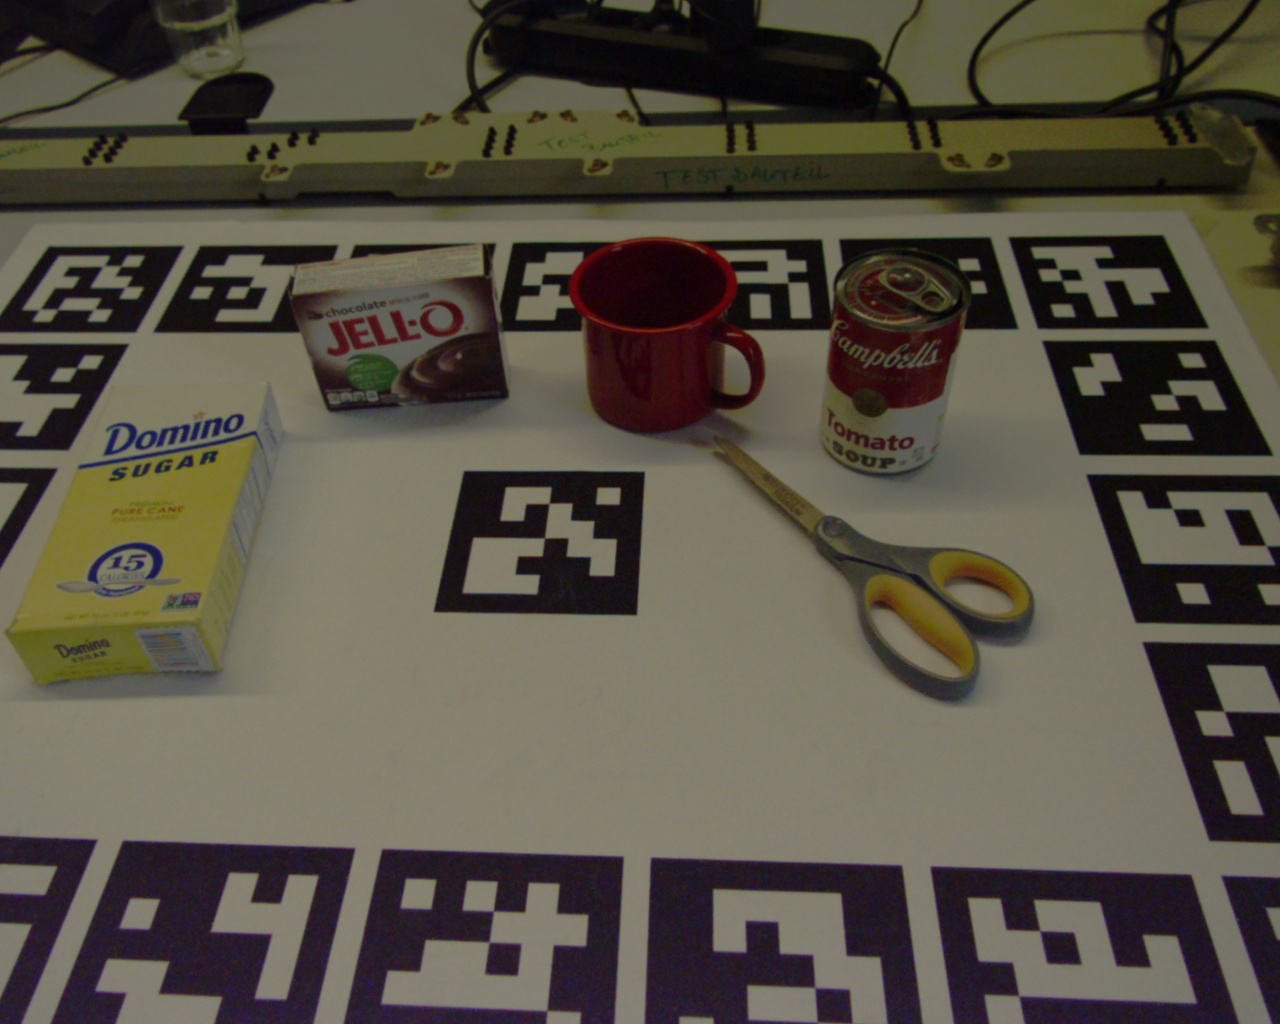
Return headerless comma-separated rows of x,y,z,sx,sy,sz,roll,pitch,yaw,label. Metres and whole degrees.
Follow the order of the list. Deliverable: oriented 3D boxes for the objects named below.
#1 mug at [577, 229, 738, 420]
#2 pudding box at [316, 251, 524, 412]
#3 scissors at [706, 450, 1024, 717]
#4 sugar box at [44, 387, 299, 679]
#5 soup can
0.019,-0.103,0.684,0.093,0.081,0.118,-29,52,-18,mug
-0.130,-0.108,0.689,0.114,0.089,0.039,-7,55,-3,pudding box
0.108,0.020,0.610,0.087,0.016,0.205,-39,57,-15,scissors
-0.254,0.006,0.636,0.093,0.045,0.177,-4,50,3,sugar box
0.133,-0.074,0.646,0.068,0.101,0.068,-3,47,2,soup can
